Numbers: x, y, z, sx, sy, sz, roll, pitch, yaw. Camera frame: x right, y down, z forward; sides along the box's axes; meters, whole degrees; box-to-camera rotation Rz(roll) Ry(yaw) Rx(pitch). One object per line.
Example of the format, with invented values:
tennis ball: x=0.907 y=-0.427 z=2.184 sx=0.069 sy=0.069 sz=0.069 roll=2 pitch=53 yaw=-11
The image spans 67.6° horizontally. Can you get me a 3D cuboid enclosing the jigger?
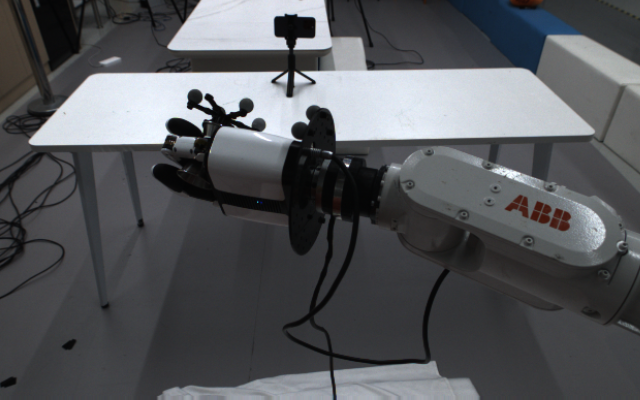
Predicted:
jigger: x=-0.127 y=-0.051 z=0.556 sx=0.043 sy=0.043 sz=0.071 roll=13 pitch=70 yaw=16
